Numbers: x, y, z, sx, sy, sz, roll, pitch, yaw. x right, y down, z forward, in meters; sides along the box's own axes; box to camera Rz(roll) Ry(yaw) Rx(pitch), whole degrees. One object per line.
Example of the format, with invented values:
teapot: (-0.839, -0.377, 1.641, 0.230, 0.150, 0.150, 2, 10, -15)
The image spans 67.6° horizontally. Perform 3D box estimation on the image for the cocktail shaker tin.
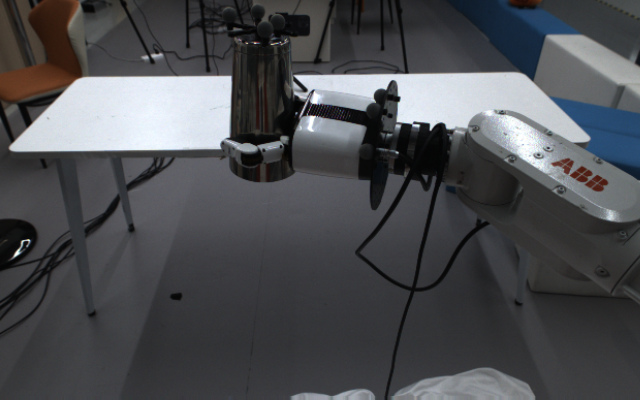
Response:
cocktail shaker tin: (-0.071, -0.118, 0.606, 0.093, 0.170, 0.093, 3, 34, -2)
